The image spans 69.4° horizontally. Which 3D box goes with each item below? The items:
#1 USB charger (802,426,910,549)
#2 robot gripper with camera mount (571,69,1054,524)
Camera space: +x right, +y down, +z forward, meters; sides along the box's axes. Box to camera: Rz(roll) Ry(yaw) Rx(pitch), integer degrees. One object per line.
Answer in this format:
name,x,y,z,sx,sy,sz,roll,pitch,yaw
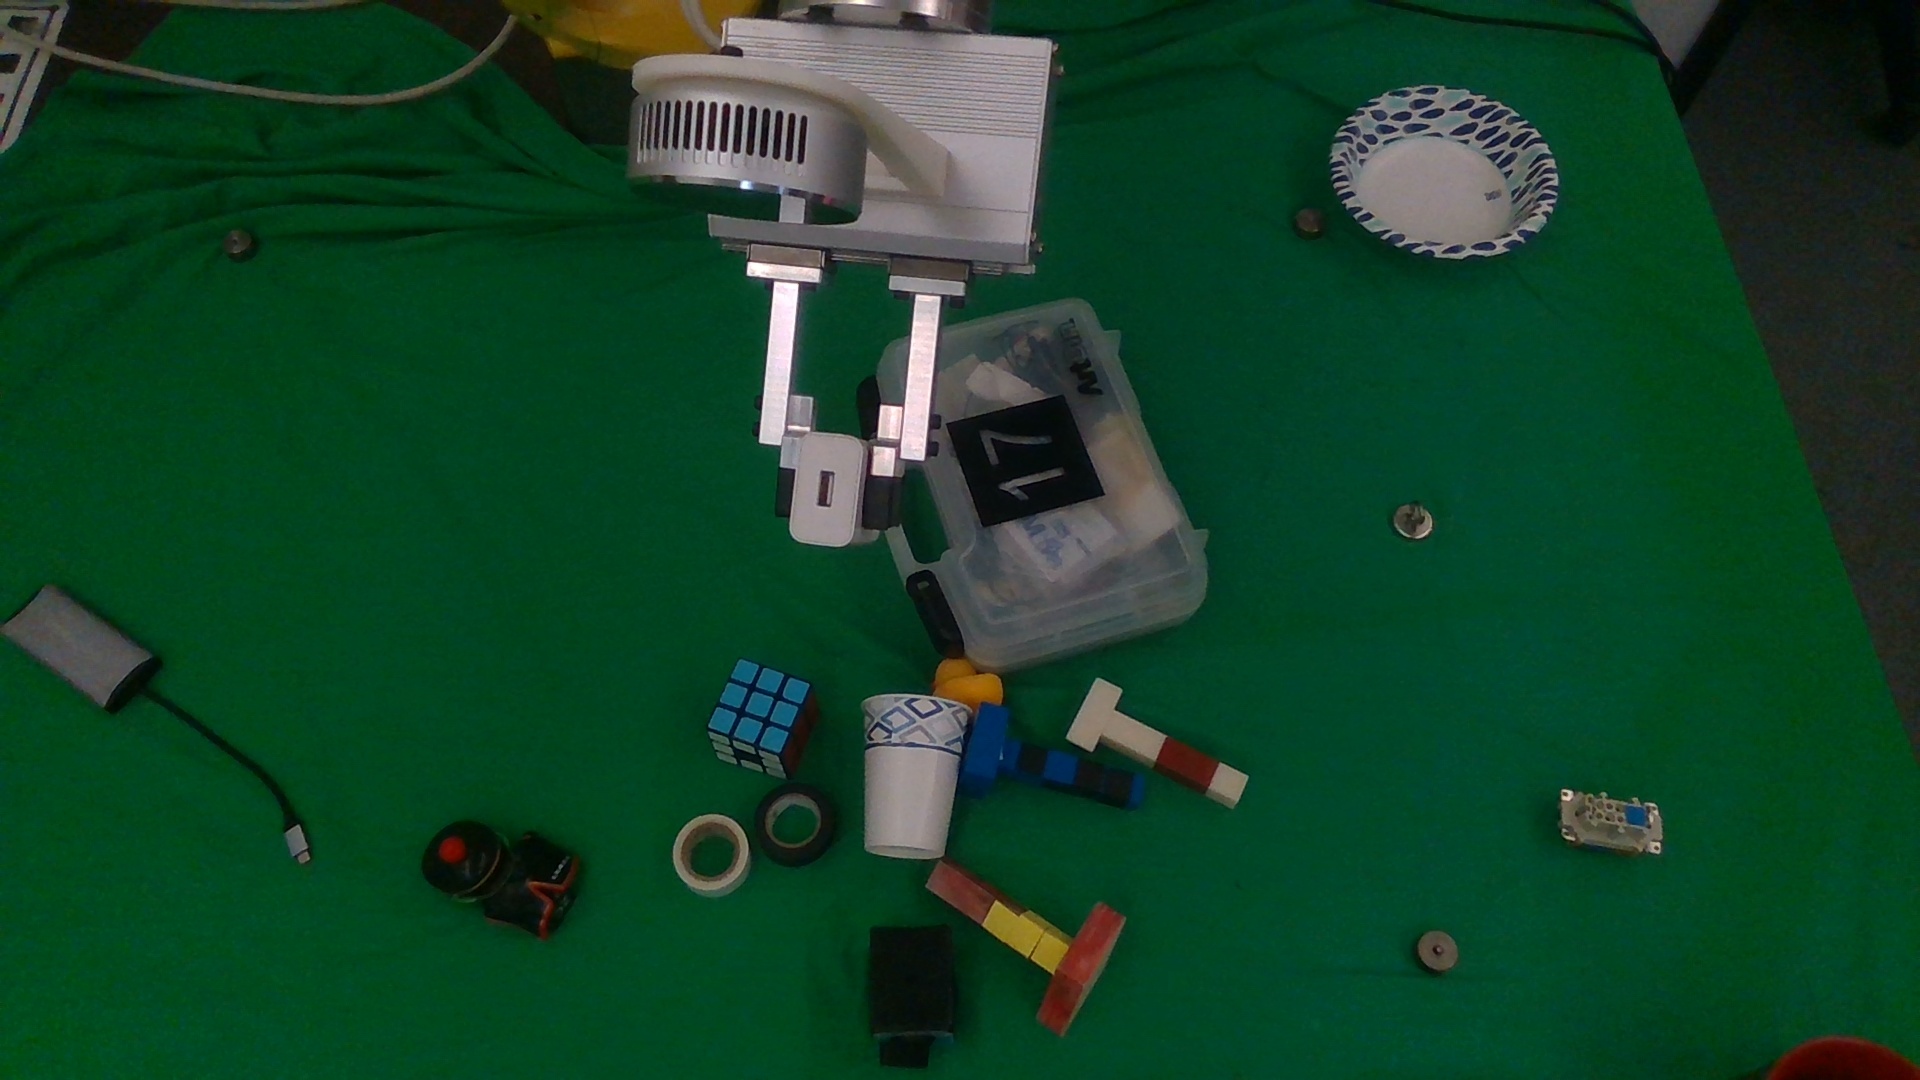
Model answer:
USB charger,-0.036,-0.019,0.532,0.029,0.075,0.044,7,91,10
robot gripper with camera mount,-0.052,-0.076,0.438,0.119,0.193,0.158,7,100,13
